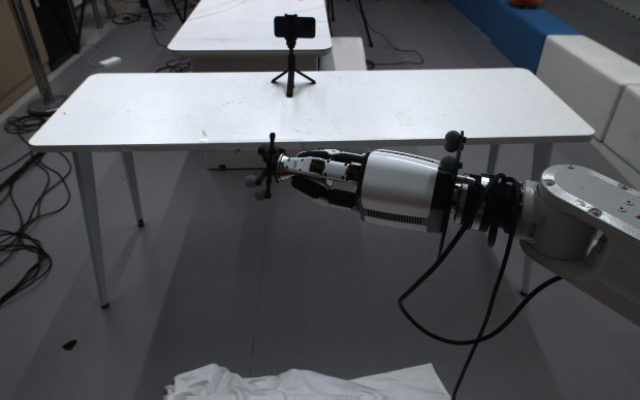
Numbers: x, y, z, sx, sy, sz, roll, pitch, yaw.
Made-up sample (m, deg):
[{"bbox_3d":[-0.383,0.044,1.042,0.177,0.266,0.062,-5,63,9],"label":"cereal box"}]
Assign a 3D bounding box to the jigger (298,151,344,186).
[{"bbox_3d":[-0.012,-0.043,0.632,0.071,0.043,0.043,8,35,16],"label":"jigger"}]
